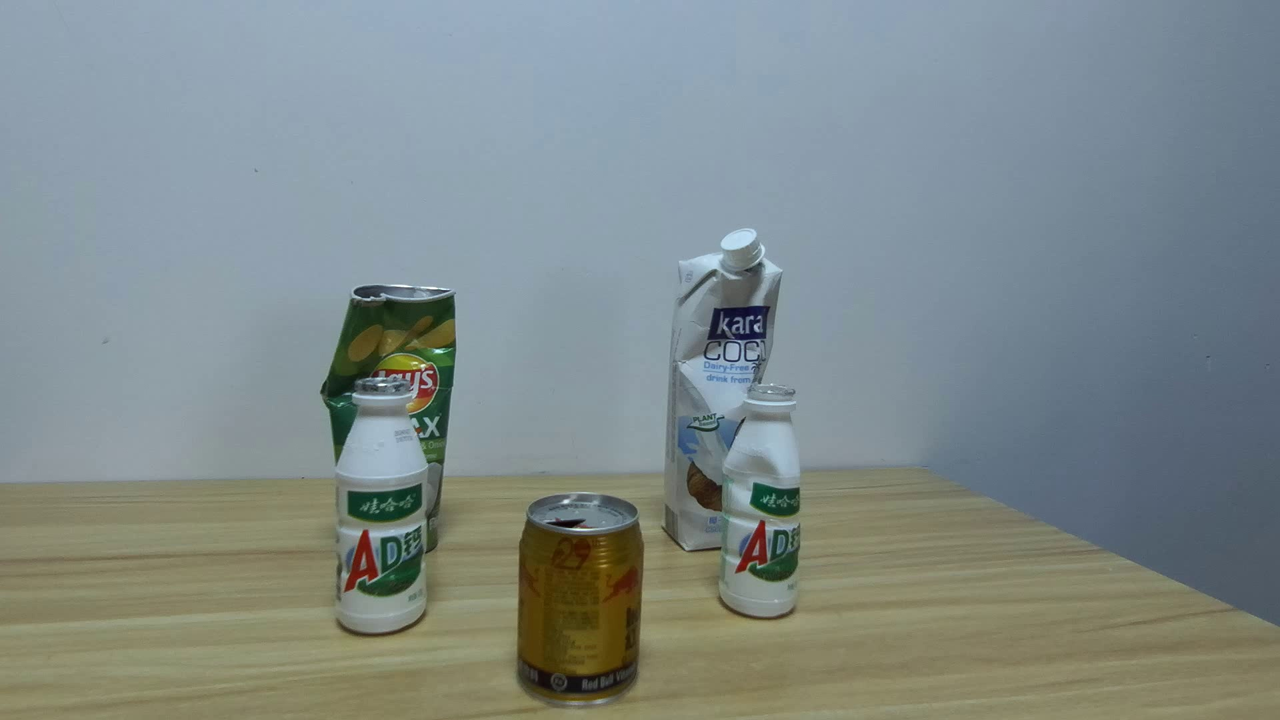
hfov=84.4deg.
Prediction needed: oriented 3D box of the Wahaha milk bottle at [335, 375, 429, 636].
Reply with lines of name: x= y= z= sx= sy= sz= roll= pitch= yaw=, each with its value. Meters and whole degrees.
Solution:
Wahaha milk bottle: x=-0.156 y=0.086 z=0.425 sx=0.053 sy=0.147 sz=0.053 roll=1 pitch=6 yaw=0

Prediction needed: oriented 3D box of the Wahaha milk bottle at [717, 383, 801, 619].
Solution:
Wahaha milk bottle: x=0.081 y=0.091 z=0.463 sx=0.055 sy=0.149 sz=0.055 roll=3 pitch=9 yaw=0

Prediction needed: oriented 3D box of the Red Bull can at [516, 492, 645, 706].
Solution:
Red Bull can: x=-0.032 y=0.124 z=0.378 sx=0.067 sy=0.093 sz=0.067 roll=4 pitch=8 yaw=0

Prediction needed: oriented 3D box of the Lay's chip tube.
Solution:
Lay's chip tube: x=-0.189 y=0.045 z=0.539 sx=0.069 sy=0.201 sz=0.077 roll=4 pitch=9 yaw=16
